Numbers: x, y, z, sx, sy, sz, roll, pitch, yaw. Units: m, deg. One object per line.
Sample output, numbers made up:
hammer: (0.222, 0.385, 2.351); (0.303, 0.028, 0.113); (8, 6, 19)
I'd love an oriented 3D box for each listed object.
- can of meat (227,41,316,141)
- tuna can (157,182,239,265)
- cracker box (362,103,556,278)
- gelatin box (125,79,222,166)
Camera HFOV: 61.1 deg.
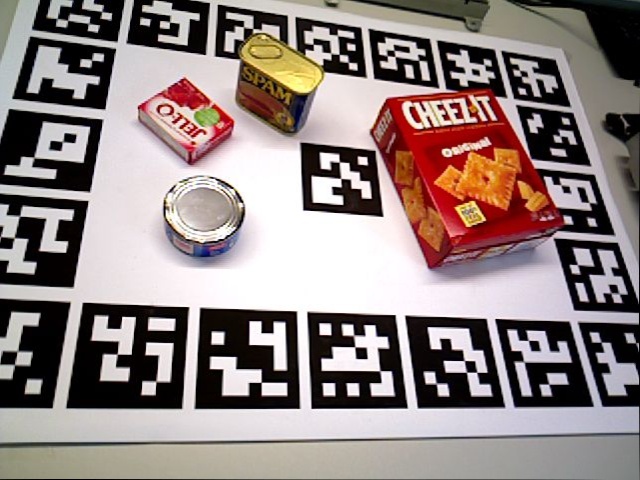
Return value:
can of meat: (-0.065, -0.184, 0.682); (0.101, 0.086, 0.056); (30, 57, 3)
tuna can: (-0.132, -0.017, 0.587); (0.085, 0.034, 0.085); (6, 64, -12)
cracker box: (0.173, -0.072, 0.692); (0.161, 0.074, 0.212); (-11, 64, -23)
gelatin box: (-0.175, -0.142, 0.650); (0.089, 0.031, 0.071); (41, 56, 6)
